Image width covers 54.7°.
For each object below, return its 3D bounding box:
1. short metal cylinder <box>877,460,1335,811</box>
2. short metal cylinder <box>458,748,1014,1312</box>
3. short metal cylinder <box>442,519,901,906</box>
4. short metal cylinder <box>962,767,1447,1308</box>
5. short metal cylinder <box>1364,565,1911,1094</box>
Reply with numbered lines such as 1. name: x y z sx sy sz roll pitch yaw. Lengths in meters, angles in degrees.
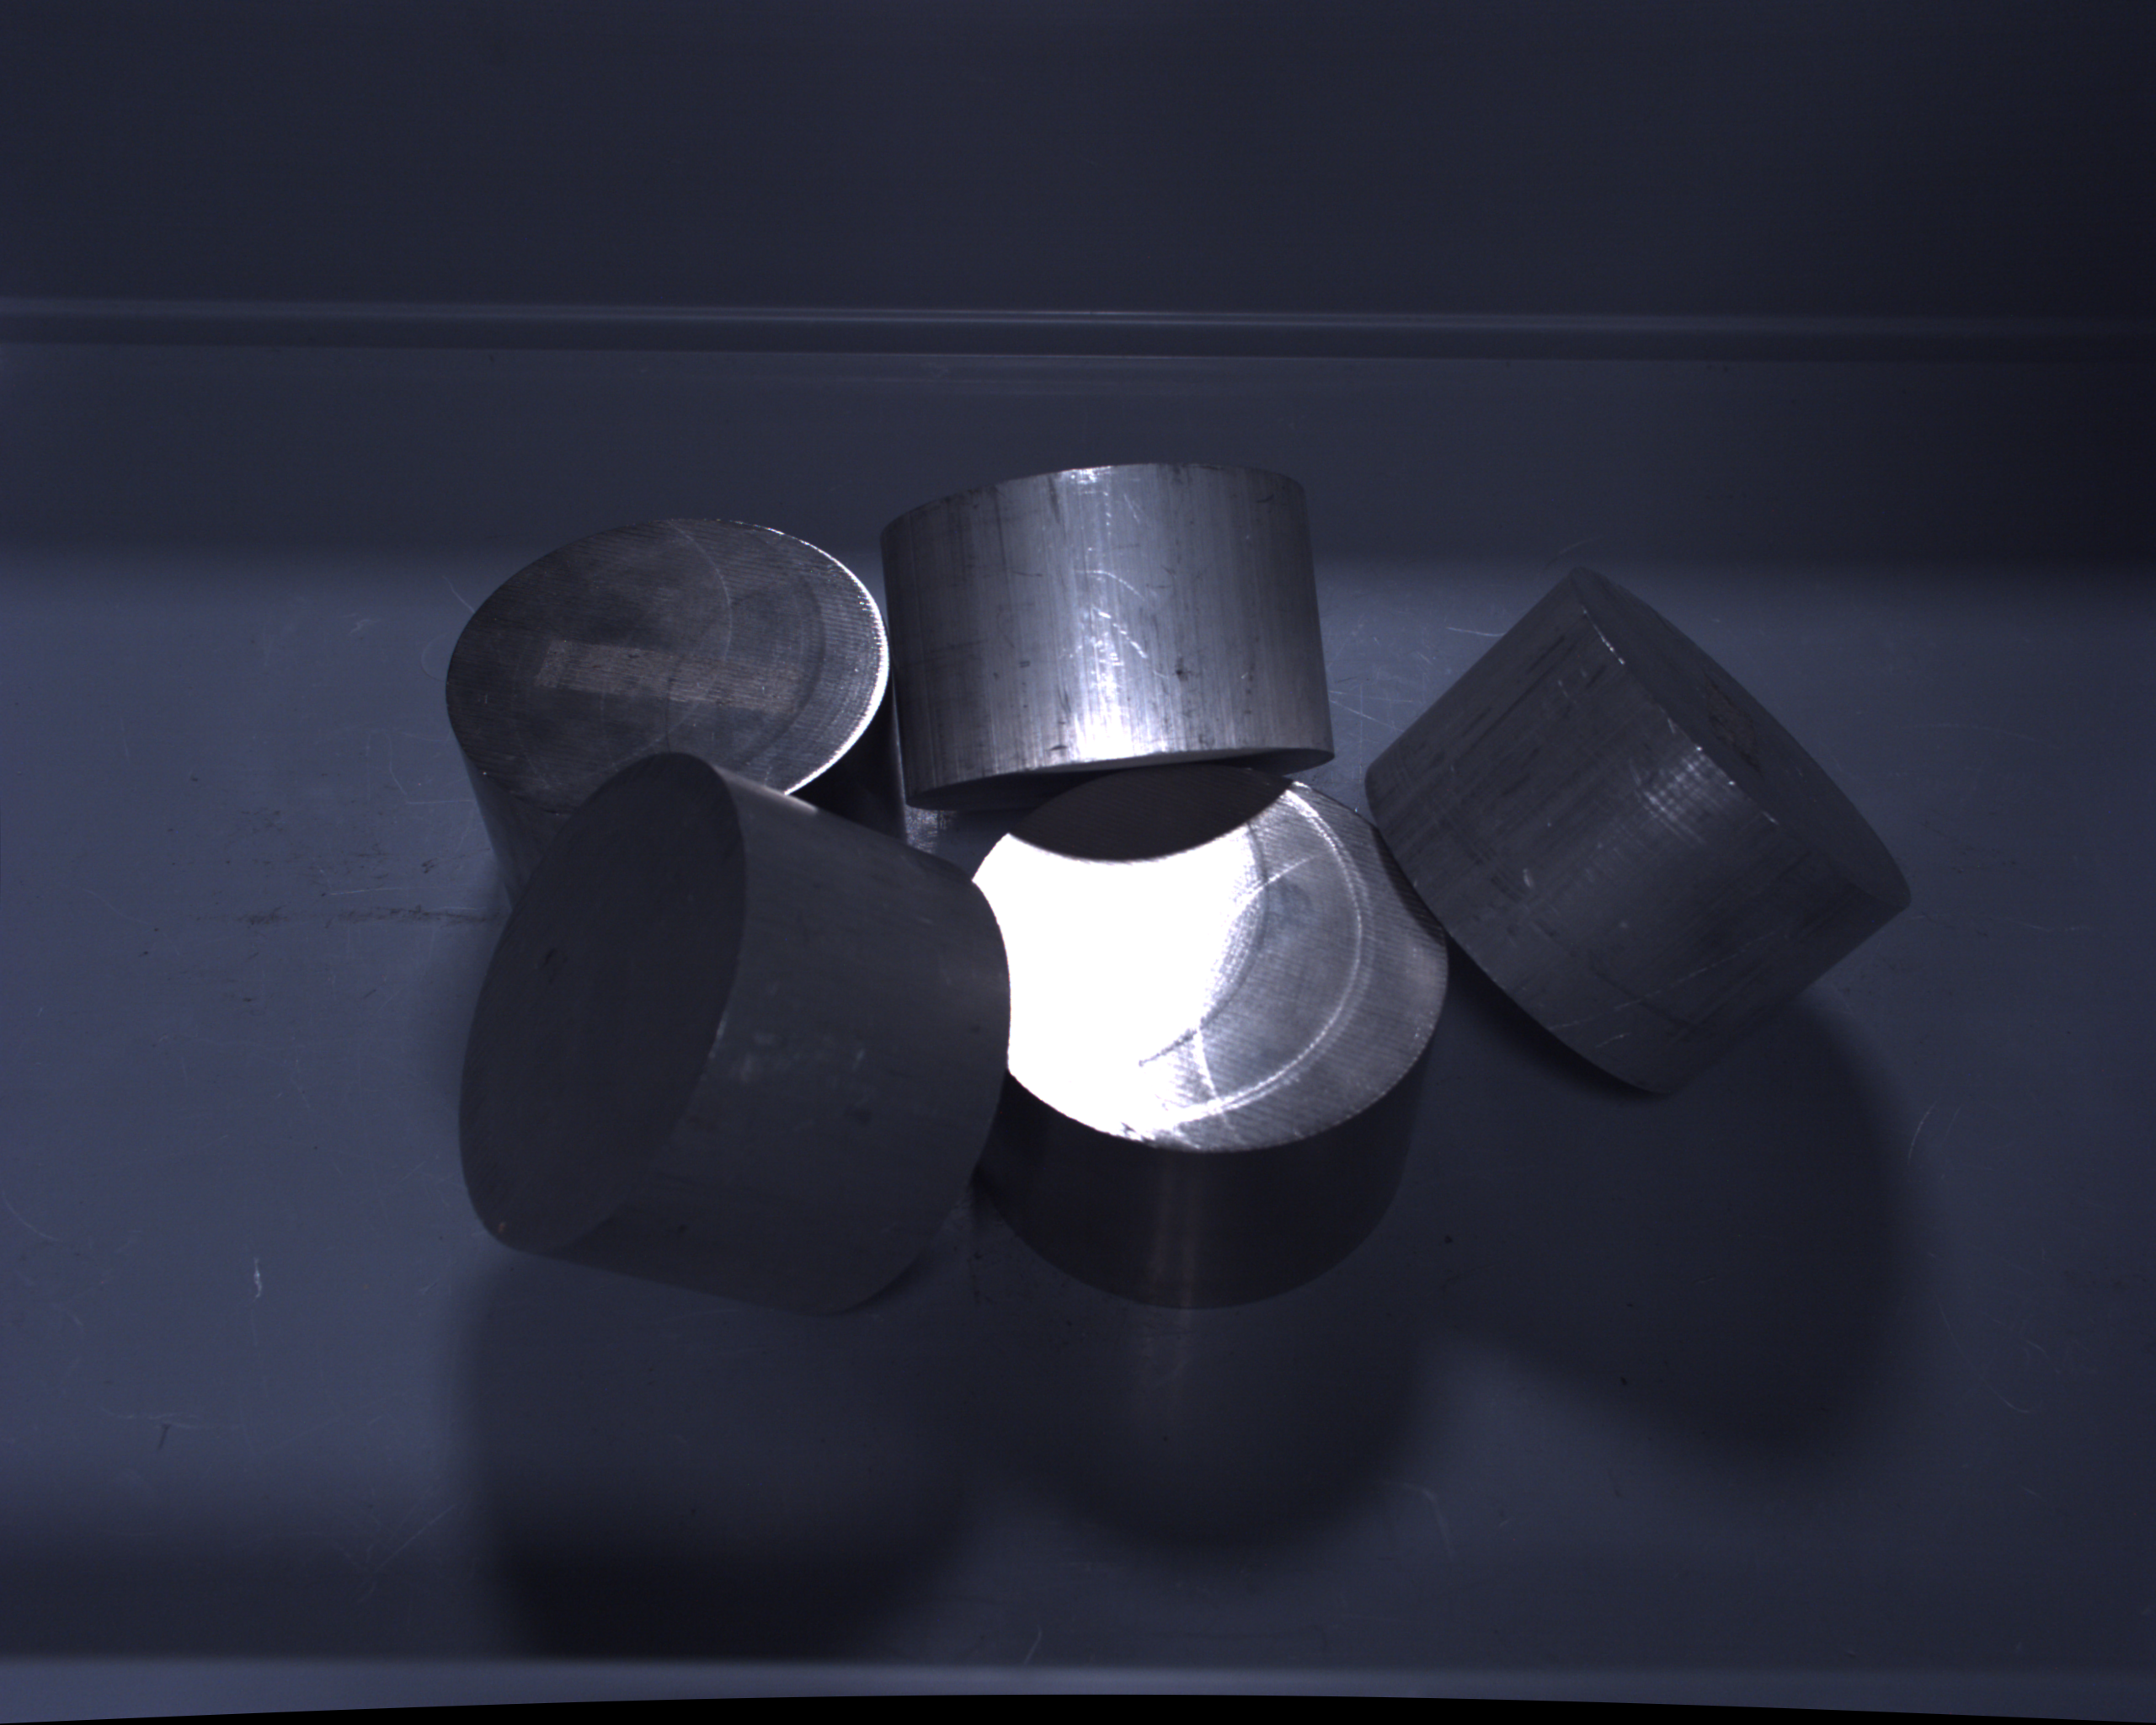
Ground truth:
1. short metal cylinder: 0.005 -0.040 0.391 0.081 0.080 0.050 -6 86 -6
2. short metal cylinder: -0.056 0.028 0.335 0.050 0.080 0.080 24 37 -38
3. short metal cylinder: -0.076 -0.021 0.402 0.081 0.050 0.080 0 50 0
4. short metal cylinder: 0.020 0.030 0.362 0.081 0.050 0.080 0 50 0
5. short metal cylinder: 0.097 -0.006 0.367 0.080 0.050 0.080 35 26 -19
